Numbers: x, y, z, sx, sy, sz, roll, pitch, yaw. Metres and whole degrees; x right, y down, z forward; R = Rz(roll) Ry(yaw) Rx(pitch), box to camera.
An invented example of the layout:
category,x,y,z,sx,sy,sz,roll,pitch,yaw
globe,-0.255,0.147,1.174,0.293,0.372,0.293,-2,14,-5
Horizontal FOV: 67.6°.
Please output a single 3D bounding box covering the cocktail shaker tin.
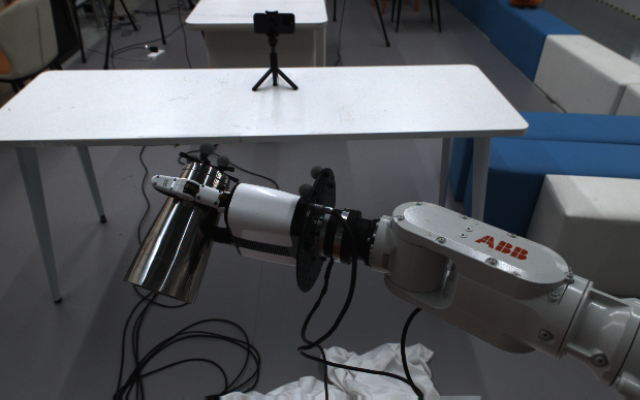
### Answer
category,x,y,z,sx,sy,sz,roll,pitch,yaw
cocktail shaker tin,-0.178,0.038,0.636,0.093,0.093,0.170,13,71,16
